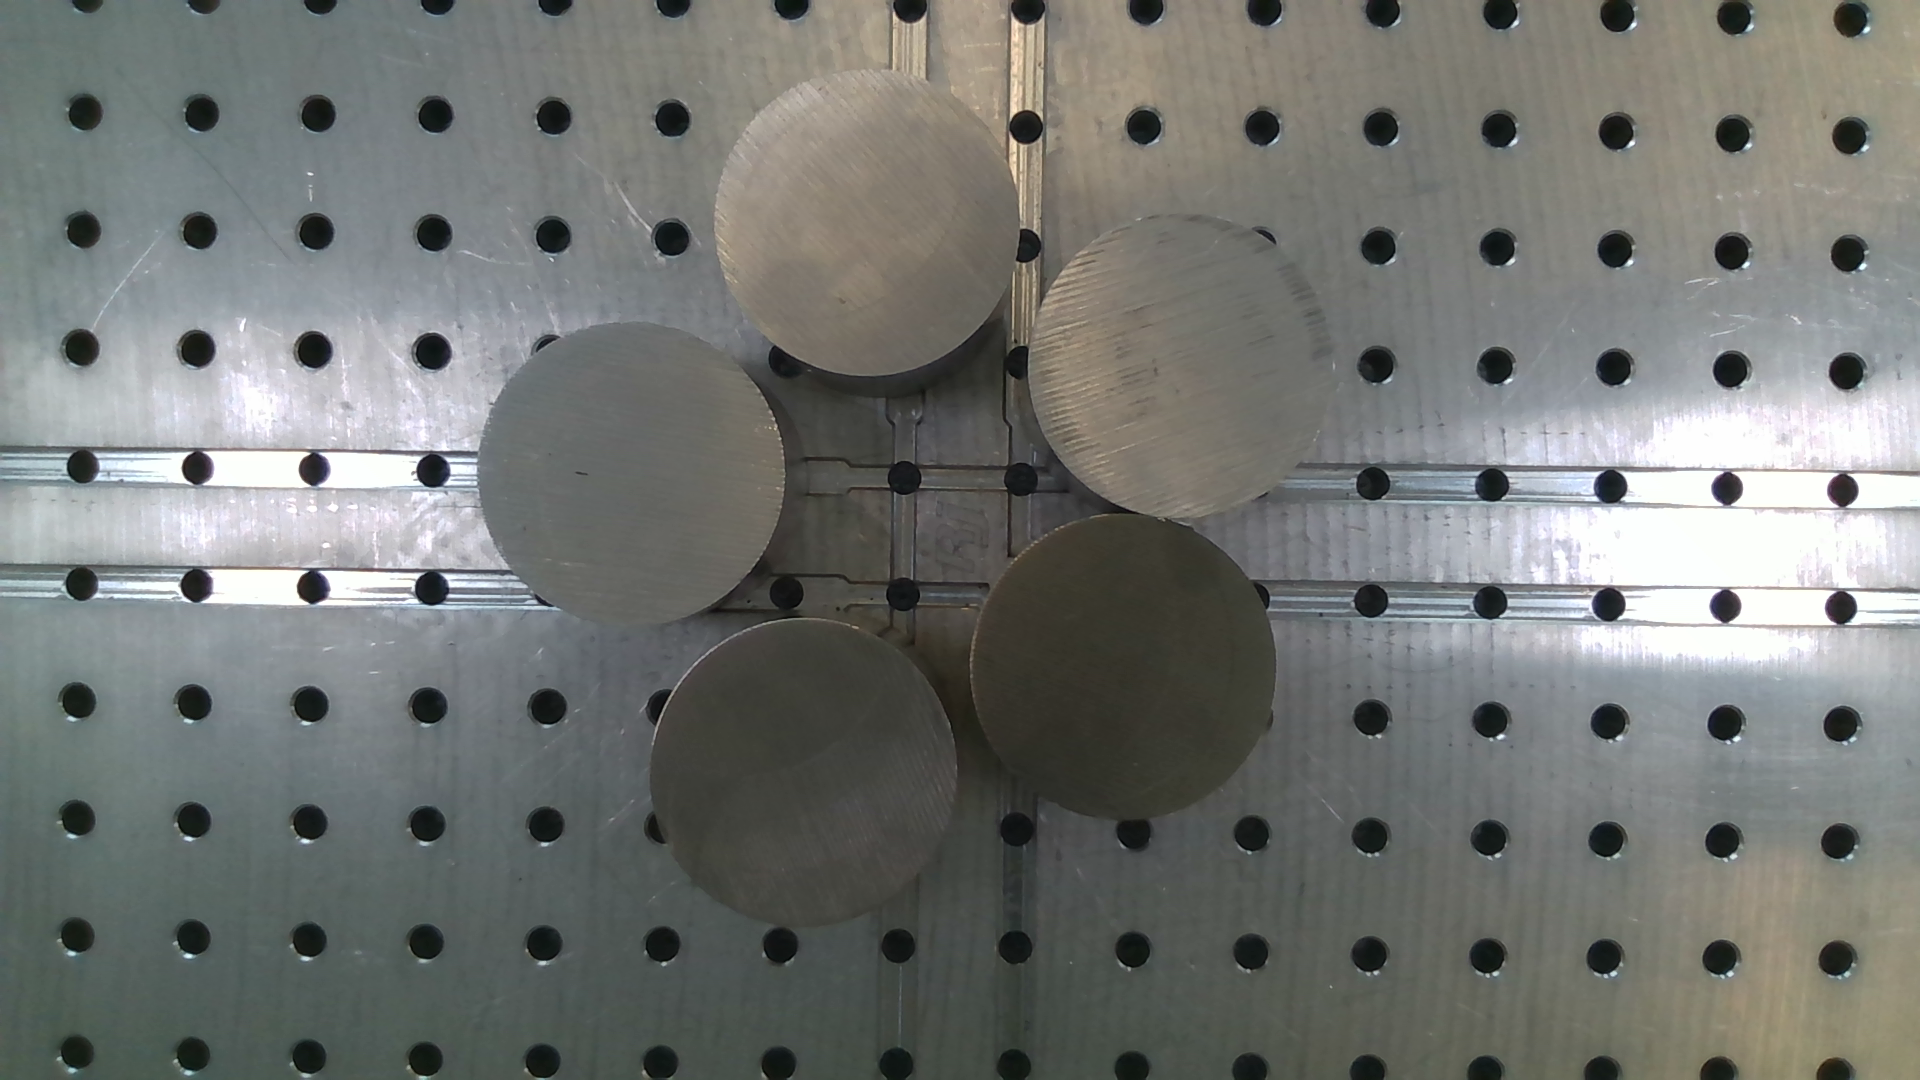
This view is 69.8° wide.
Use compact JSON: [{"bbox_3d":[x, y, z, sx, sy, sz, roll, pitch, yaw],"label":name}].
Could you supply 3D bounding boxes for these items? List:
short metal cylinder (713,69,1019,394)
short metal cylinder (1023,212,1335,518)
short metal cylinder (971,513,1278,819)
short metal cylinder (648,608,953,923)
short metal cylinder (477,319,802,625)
[{"bbox_3d":[-0.024,-0.083,0.384,0.080,0.050,0.080,0,90,0],"label":"short metal cylinder"},{"bbox_3d":[0.058,-0.046,0.384,0.080,0.050,0.080,0,90,0],"label":"short metal cylinder"},{"bbox_3d":[0.043,0.033,0.384,0.080,0.050,0.080,0,90,0],"label":"short metal cylinder"},{"bbox_3d":[-0.041,0.060,0.384,0.080,0.050,0.080,0,90,1],"label":"short metal cylinder"},{"bbox_3d":[-0.086,-0.017,0.384,0.080,0.050,0.080,0,89,0],"label":"short metal cylinder"}]
